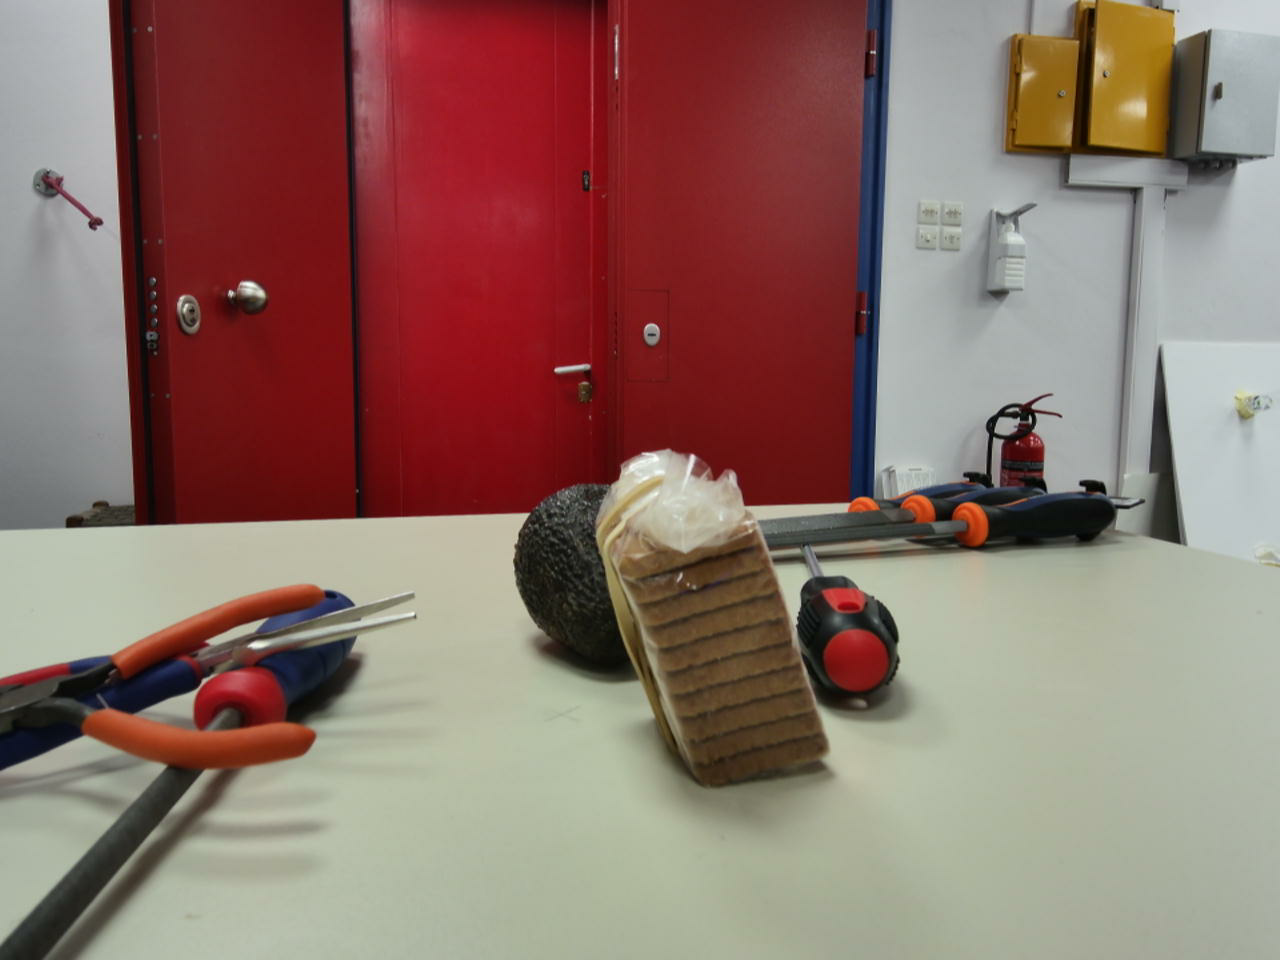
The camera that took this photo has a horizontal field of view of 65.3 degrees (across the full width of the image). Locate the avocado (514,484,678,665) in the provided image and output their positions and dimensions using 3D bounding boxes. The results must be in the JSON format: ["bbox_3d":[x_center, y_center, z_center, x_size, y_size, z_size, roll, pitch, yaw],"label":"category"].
[{"bbox_3d":[-0.020,0.037,0.419,0.070,0.069,0.090,1,4,12],"label":"avocado"}]
